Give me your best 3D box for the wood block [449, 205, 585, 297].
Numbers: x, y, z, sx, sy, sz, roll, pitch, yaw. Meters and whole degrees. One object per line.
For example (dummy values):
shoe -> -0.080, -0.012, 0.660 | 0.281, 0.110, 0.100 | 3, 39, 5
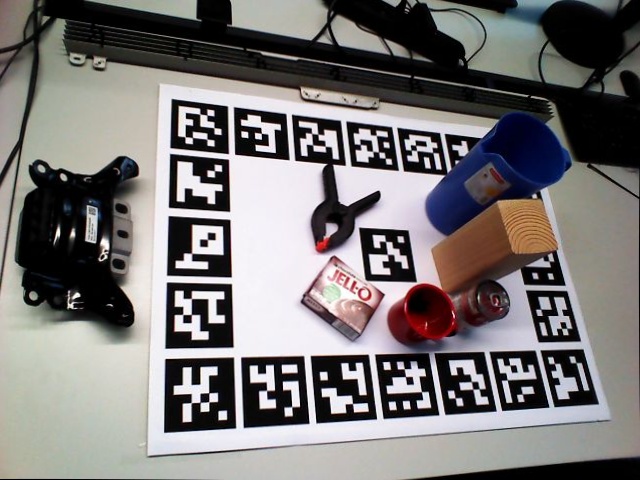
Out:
wood block -> 0.317, 0.028, 0.864 | 0.089, 0.208, 0.090 | 2, 67, -22

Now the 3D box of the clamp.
clamp -> 0.063, -0.042, 0.914 | 0.122, 0.037, 0.164 | 34, 61, -11

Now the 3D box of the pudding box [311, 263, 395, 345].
pudding box -> 0.055, 0.103, 0.843 | 0.114, 0.039, 0.089 | 37, 64, 0

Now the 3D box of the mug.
mug -> 0.200, 0.146, 0.846 | 0.117, 0.082, 0.092 | 36, 59, 0

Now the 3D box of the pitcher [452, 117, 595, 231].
pitcher -> 0.338, -0.089, 0.904 | 0.188, 0.244, 0.132 | 2, 65, -15

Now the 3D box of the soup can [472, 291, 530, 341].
soup can -> 0.291, 0.129, 0.871 | 0.068, 0.102, 0.067 | 6, 68, -17
